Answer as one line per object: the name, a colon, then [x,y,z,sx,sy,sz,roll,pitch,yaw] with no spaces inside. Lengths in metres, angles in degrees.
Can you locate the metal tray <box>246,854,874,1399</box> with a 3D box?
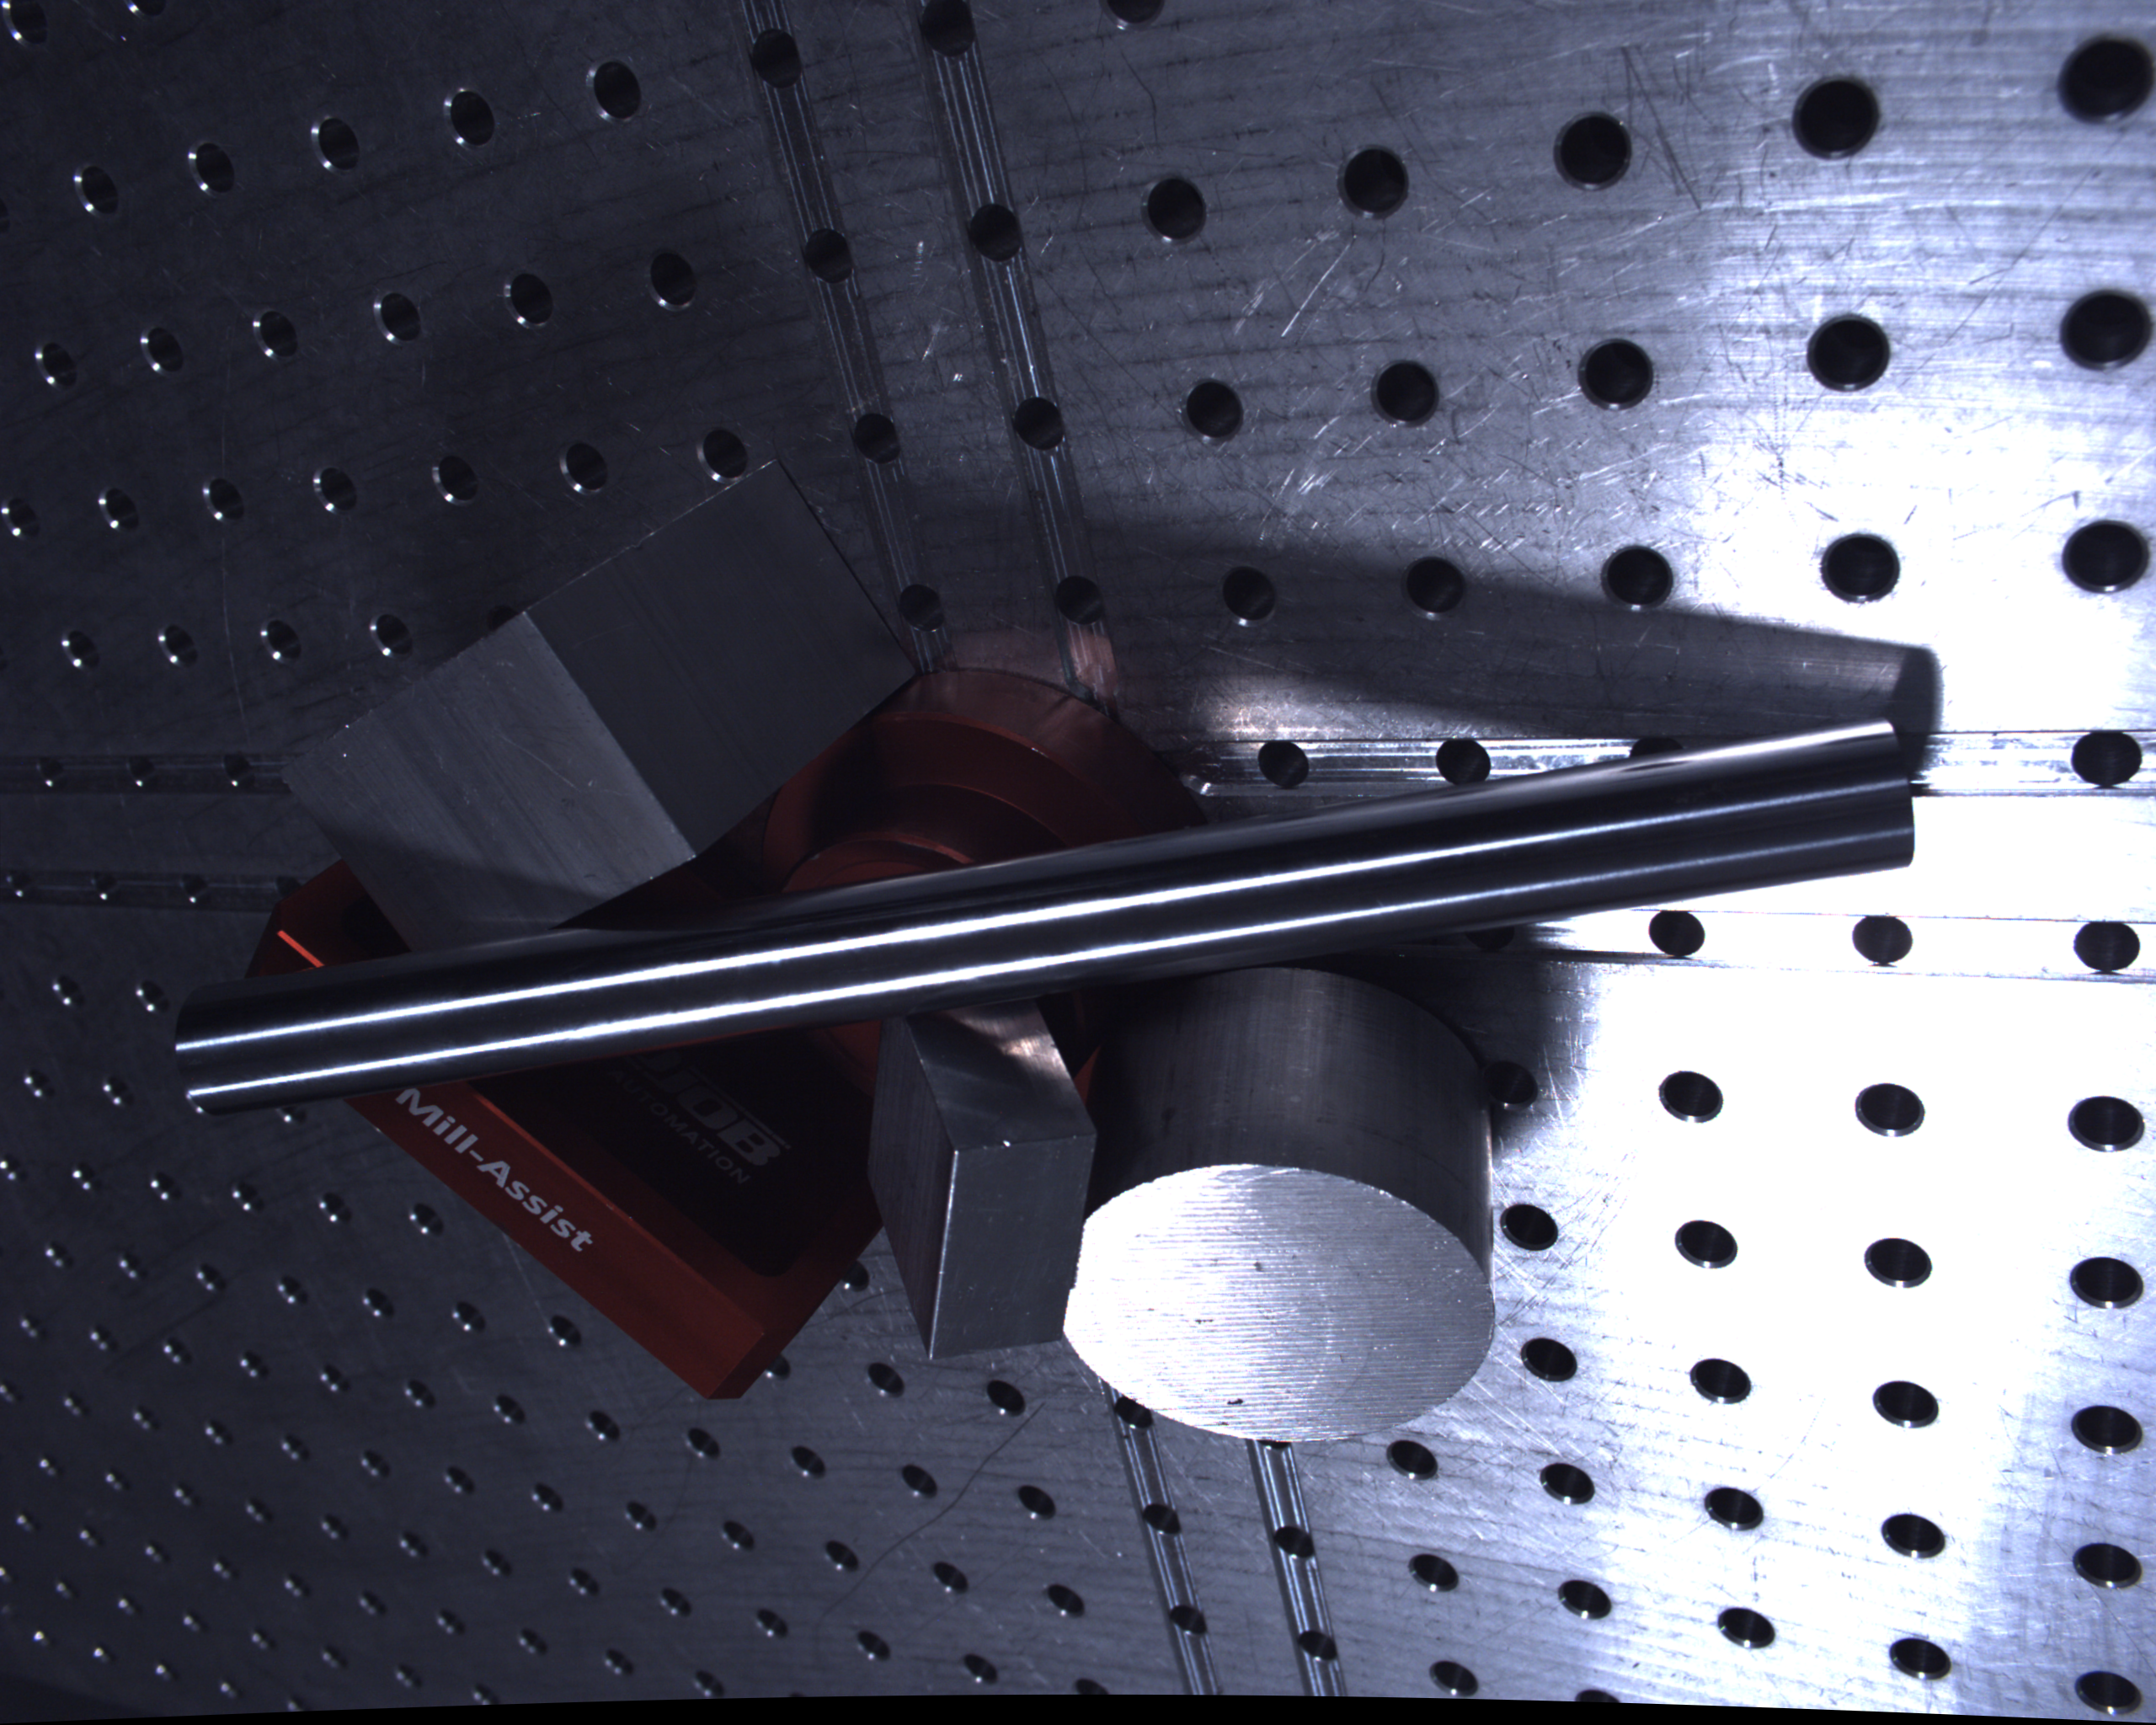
metal tray: [-0.095,0.038,0.440,0.130,0.090,0.030,40,129,1]

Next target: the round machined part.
round machined part: [-0.021,0.013,0.421,0.098,0.042,0.097,13,124,20]

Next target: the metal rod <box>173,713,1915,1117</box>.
metal rod: [-0.015,0.012,0.363,0.301,0.025,0.025,-9,115,10]

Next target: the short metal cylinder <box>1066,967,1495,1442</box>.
short metal cylinder: [0.038,0.066,0.399,0.080,0.050,0.079,4,130,5]

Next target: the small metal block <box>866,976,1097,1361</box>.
small metal block: [-0.020,0.053,0.380,0.025,0.050,0.050,-4,125,-19]

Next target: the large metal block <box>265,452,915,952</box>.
large metal block: [-0.092,-0.028,0.403,0.080,0.080,0.050,-23,106,36]
